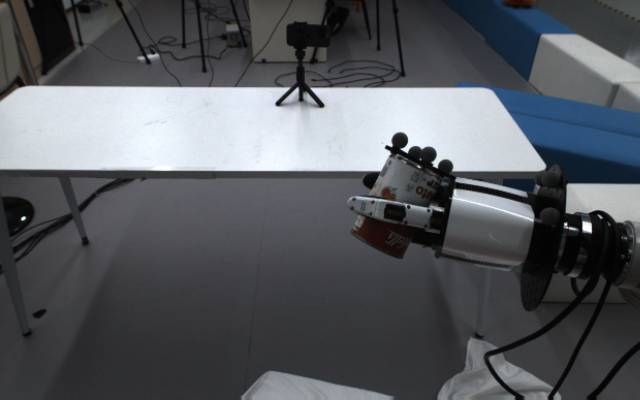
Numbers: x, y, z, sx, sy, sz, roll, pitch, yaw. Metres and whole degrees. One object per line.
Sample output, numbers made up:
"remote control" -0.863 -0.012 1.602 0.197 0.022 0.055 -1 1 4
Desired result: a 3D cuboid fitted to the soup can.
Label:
"soup can" 0.089 0.007 0.551 0.067 0.101 0.067 26 5 -3
